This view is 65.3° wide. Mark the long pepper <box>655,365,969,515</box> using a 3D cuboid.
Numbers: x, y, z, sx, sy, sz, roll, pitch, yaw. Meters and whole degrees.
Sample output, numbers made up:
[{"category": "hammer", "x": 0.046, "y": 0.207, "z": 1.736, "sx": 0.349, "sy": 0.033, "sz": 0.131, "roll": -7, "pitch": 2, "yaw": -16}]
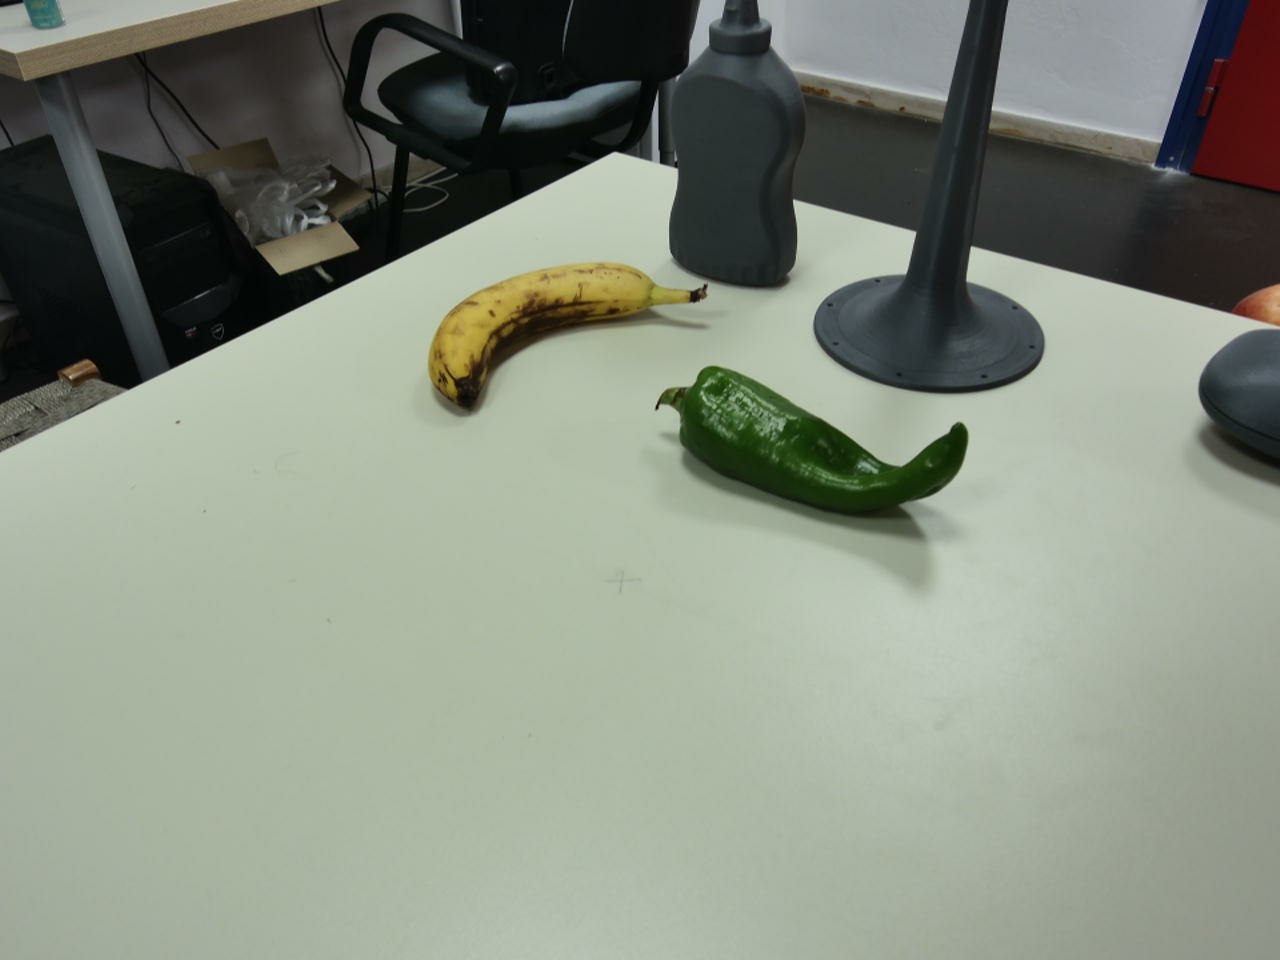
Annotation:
[{"category": "long pepper", "x": 0.083, "y": -0.025, "z": 0.535, "sx": 0.175, "sy": 0.065, "sz": 0.058, "roll": 24, "pitch": 43, "yaw": 28}]
